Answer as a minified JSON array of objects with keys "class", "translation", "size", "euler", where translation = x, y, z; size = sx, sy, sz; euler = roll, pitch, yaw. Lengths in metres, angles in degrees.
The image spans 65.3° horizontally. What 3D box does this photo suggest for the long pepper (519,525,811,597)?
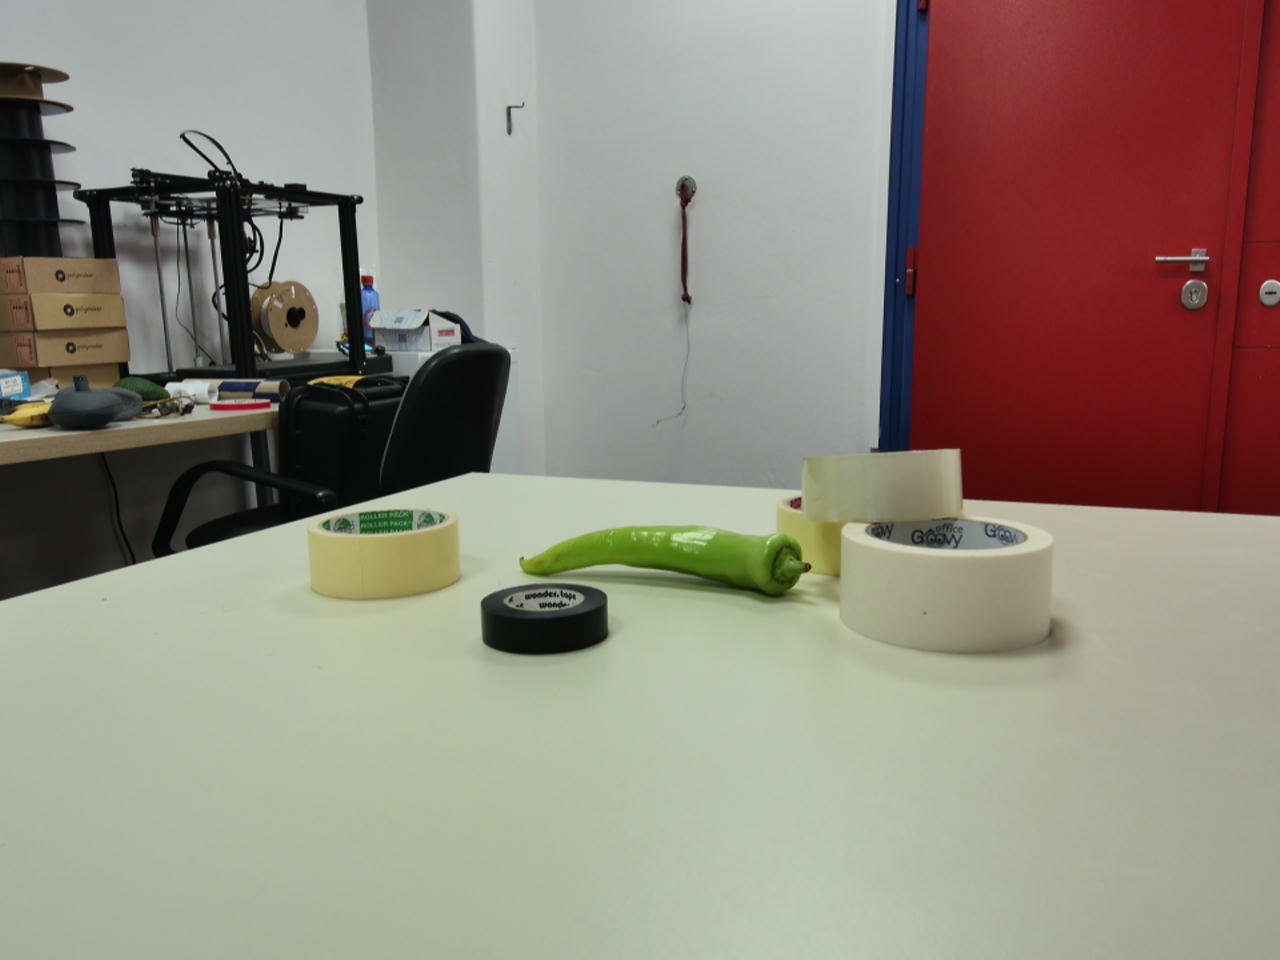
[{"class":"long pepper","translation":[0.015,0.045,0.620],"size":[0.197,0.038,0.046],"euler":[4,8,25]}]
